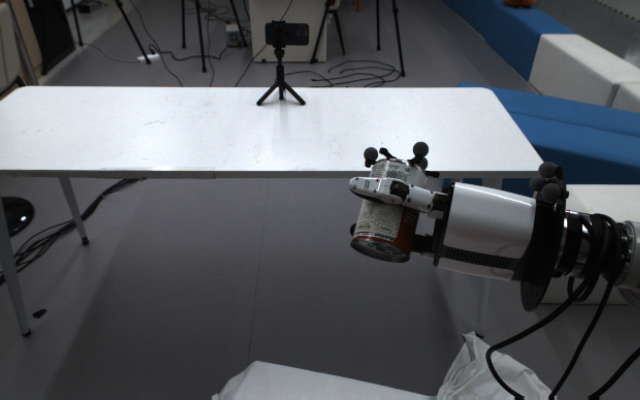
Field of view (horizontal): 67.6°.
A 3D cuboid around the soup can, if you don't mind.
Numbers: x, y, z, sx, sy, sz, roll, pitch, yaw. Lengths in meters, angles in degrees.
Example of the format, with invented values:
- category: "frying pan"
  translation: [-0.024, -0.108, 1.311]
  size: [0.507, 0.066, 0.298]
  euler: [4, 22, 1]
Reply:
- category: "soup can"
  translation: [0.081, 0.010, 0.553]
  size: [0.067, 0.067, 0.101]
  euler: [12, 70, 14]
